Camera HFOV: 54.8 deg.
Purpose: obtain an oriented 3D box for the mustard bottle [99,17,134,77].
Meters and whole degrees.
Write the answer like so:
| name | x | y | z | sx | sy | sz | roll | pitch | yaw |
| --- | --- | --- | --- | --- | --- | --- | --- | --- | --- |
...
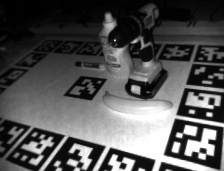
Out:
| name | x | y | z | sx | sy | sz | roll | pitch | yaw |
| --- | --- | --- | --- | --- | --- | --- | --- | --- | --- |
| mustard bottle | 0.008 | -0.116 | 0.662 | 0.095 | 0.193 | 0.059 | 17 | 50 | 32 |

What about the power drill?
| name | x | y | z | sx | sy | sz | roll | pitch | yaw |
| --- | --- | --- | --- | --- | --- | --- | --- | --- | --- |
| power drill | 0.073 | -0.074 | 0.566 | 0.056 | 0.188 | 0.185 | 20 | 49 | 33 |

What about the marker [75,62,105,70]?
| name | x | y | z | sx | sy | sz | roll | pitch | yaw |
| --- | --- | --- | --- | --- | --- | --- | --- | --- | --- |
| marker | -0.081 | -0.072 | 0.776 | 0.119 | 0.020 | 0.020 | 9 | 47 | 26 |

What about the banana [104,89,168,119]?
| name | x | y | z | sx | sy | sz | roll | pitch | yaw |
| --- | --- | --- | --- | --- | --- | --- | --- | --- | --- |
| banana | 0.050 | 0.054 | 0.576 | 0.195 | 0.039 | 0.074 | 13 | 49 | 32 |
